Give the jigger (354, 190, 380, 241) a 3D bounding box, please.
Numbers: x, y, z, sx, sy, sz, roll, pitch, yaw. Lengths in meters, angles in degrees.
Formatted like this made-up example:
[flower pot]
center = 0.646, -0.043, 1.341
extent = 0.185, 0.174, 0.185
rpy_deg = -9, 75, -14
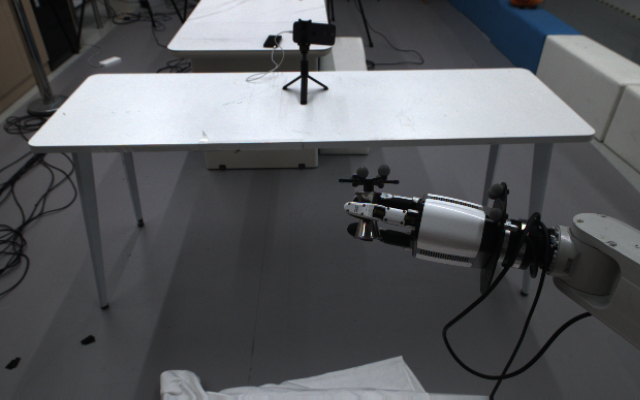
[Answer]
[jigger]
center = 0.069, 0.022, 0.717
extent = 0.043, 0.071, 0.043
rpy_deg = 2, -6, 0
